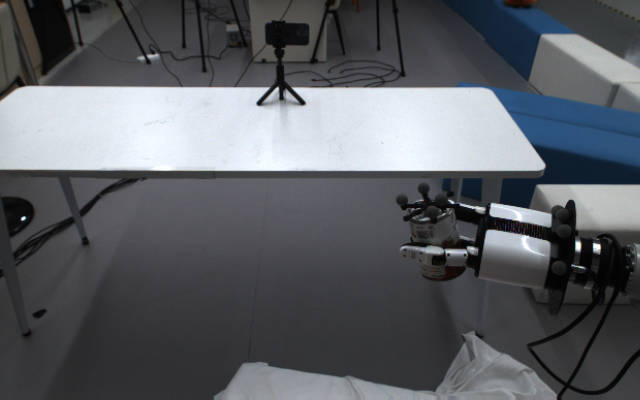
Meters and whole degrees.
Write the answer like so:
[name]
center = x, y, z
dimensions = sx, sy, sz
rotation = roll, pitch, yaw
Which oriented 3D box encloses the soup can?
[soup can]
center = 0.171, 0.057, 0.702
dimensions = 0.067, 0.101, 0.067
rotation = -16, 23, 7
